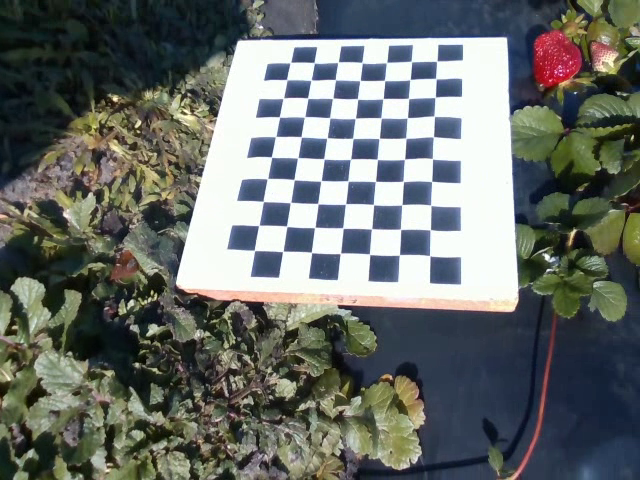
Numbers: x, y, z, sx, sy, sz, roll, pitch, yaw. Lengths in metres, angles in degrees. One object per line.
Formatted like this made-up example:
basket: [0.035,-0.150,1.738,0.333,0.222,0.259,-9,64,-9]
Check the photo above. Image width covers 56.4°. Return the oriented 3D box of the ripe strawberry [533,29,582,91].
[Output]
ripe strawberry: [0.219,-0.176,0.567,0.065,0.062,0.058,-41,35,-13]
